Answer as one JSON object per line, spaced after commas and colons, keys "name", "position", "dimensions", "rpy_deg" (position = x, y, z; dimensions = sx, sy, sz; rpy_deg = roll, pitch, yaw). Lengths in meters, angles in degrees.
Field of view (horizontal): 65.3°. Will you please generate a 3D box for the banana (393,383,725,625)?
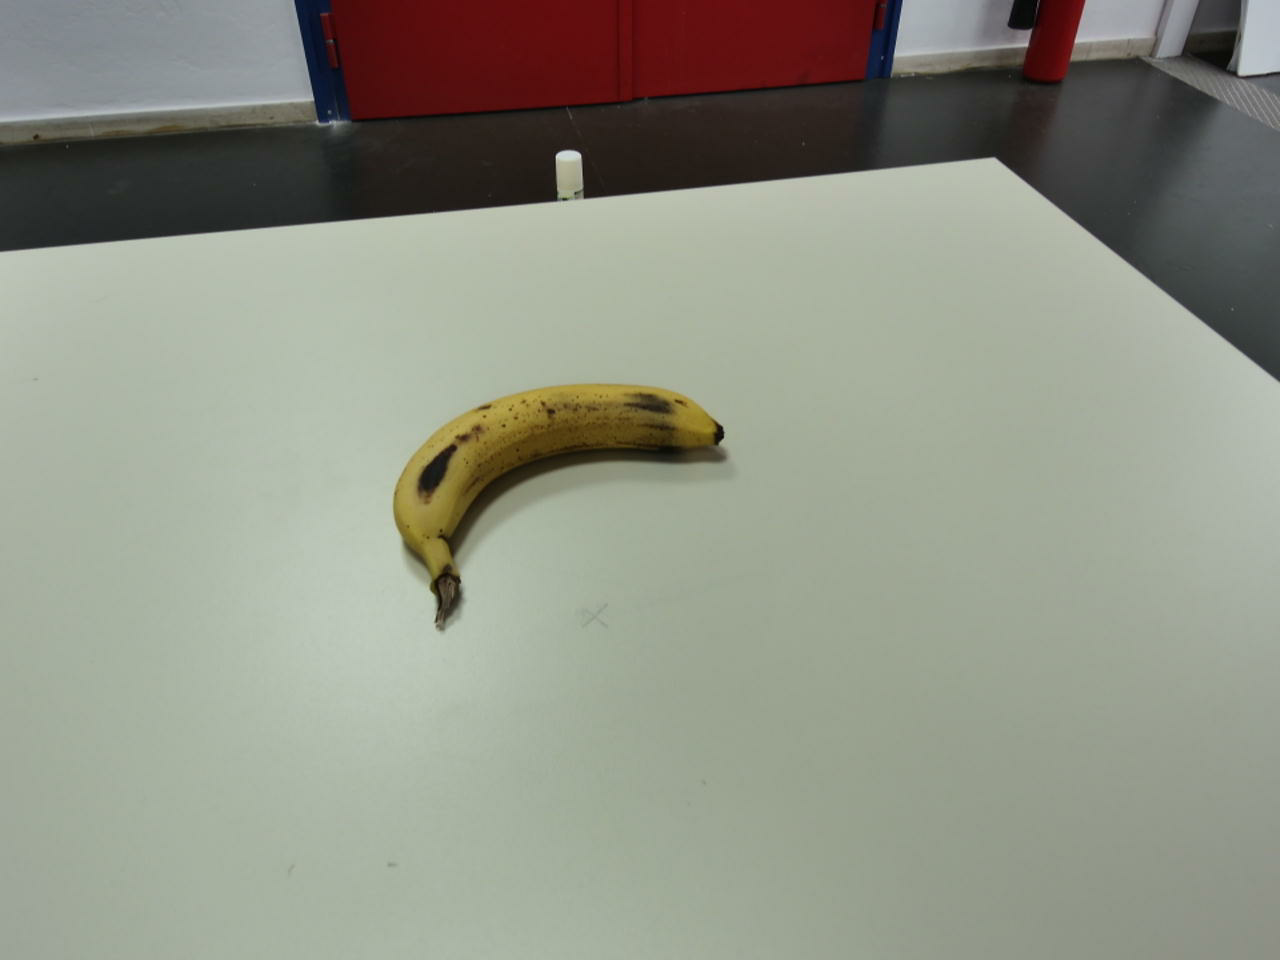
{"name": "banana", "position": [-0.052, -0.011, 0.529], "dimensions": [0.186, 0.038, 0.097], "rpy_deg": [-28, 47, -31]}
